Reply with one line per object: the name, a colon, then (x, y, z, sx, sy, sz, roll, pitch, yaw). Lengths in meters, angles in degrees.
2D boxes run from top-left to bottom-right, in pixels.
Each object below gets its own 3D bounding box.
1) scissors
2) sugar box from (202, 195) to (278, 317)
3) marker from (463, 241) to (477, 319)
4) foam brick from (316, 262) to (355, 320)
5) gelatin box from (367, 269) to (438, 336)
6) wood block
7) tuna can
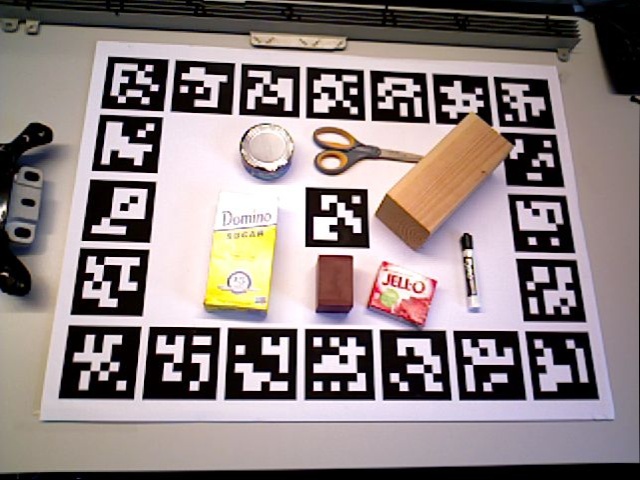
scissors: (0.081, -0.133, 0.888, 0.202, 0.016, 0.087, 9, 73, 0)
sugar box: (-0.117, 0.024, 0.813, 0.092, 0.046, 0.175, 6, 73, -4)
marker: (0.232, 0.061, 0.840, 0.019, 0.020, 0.120, 3, 76, -4)
foam brick: (0.023, 0.076, 0.800, 0.052, 0.052, 0.077, 4, 74, -4)
gelatin box: (0.124, 0.094, 0.818, 0.089, 0.030, 0.072, 20, 74, 2)
wood block: (0.199, -0.079, 0.846, 0.090, 0.092, 0.203, 44, 74, 9)
tuna can: (-0.090, -0.136, 0.863, 0.085, 0.034, 0.085, 1, 74, -4)
